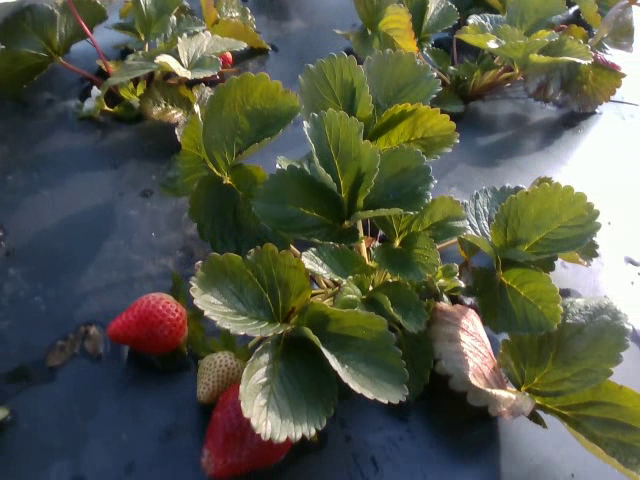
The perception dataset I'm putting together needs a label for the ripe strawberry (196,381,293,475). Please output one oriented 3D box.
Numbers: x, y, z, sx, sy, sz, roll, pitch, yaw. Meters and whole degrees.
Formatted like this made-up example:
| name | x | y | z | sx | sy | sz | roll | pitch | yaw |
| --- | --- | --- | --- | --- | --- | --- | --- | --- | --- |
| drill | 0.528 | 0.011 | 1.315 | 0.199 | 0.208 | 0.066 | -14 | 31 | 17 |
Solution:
| name | x | y | z | sx | sy | sz | roll | pitch | yaw |
| --- | --- | --- | --- | --- | --- | --- | --- | --- | --- |
| ripe strawberry | -0.045 | 0.105 | 0.332 | 0.048 | 0.050 | 0.065 | -10 | 30 | 52 |
